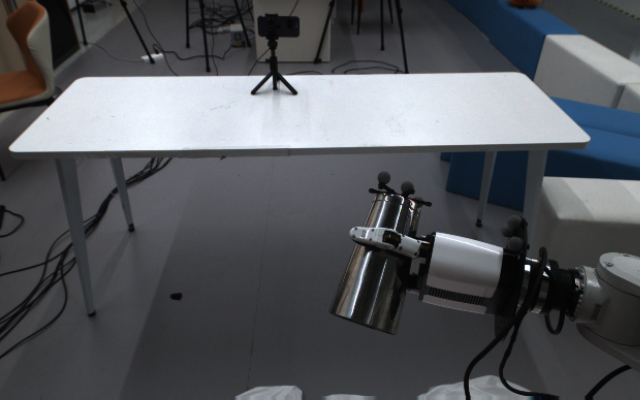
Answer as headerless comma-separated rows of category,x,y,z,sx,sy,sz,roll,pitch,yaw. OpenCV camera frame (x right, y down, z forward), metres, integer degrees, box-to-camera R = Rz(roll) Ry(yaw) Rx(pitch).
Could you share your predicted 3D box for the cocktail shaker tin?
cocktail shaker tin,0.081,0.081,0.641,0.093,0.093,0.170,14,75,17
